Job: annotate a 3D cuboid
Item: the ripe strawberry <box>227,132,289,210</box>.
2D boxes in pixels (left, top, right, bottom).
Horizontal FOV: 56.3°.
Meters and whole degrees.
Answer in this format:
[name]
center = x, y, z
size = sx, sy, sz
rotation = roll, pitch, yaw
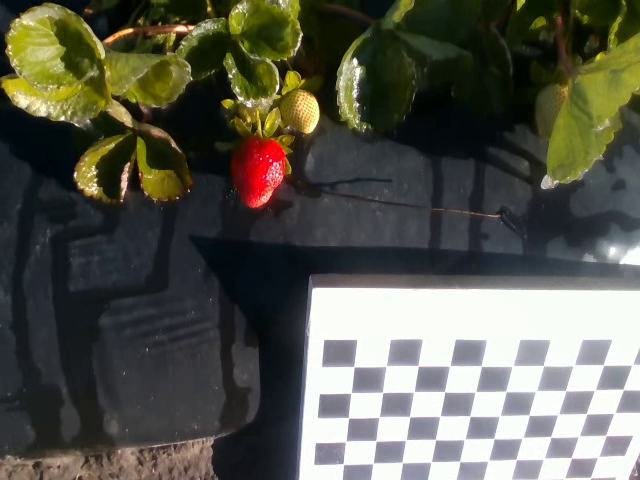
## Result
[ripe strawberry]
center = -0.030, -0.030, 0.300
size = 0.039, 0.039, 0.040
rotation = -3, -37, 6
